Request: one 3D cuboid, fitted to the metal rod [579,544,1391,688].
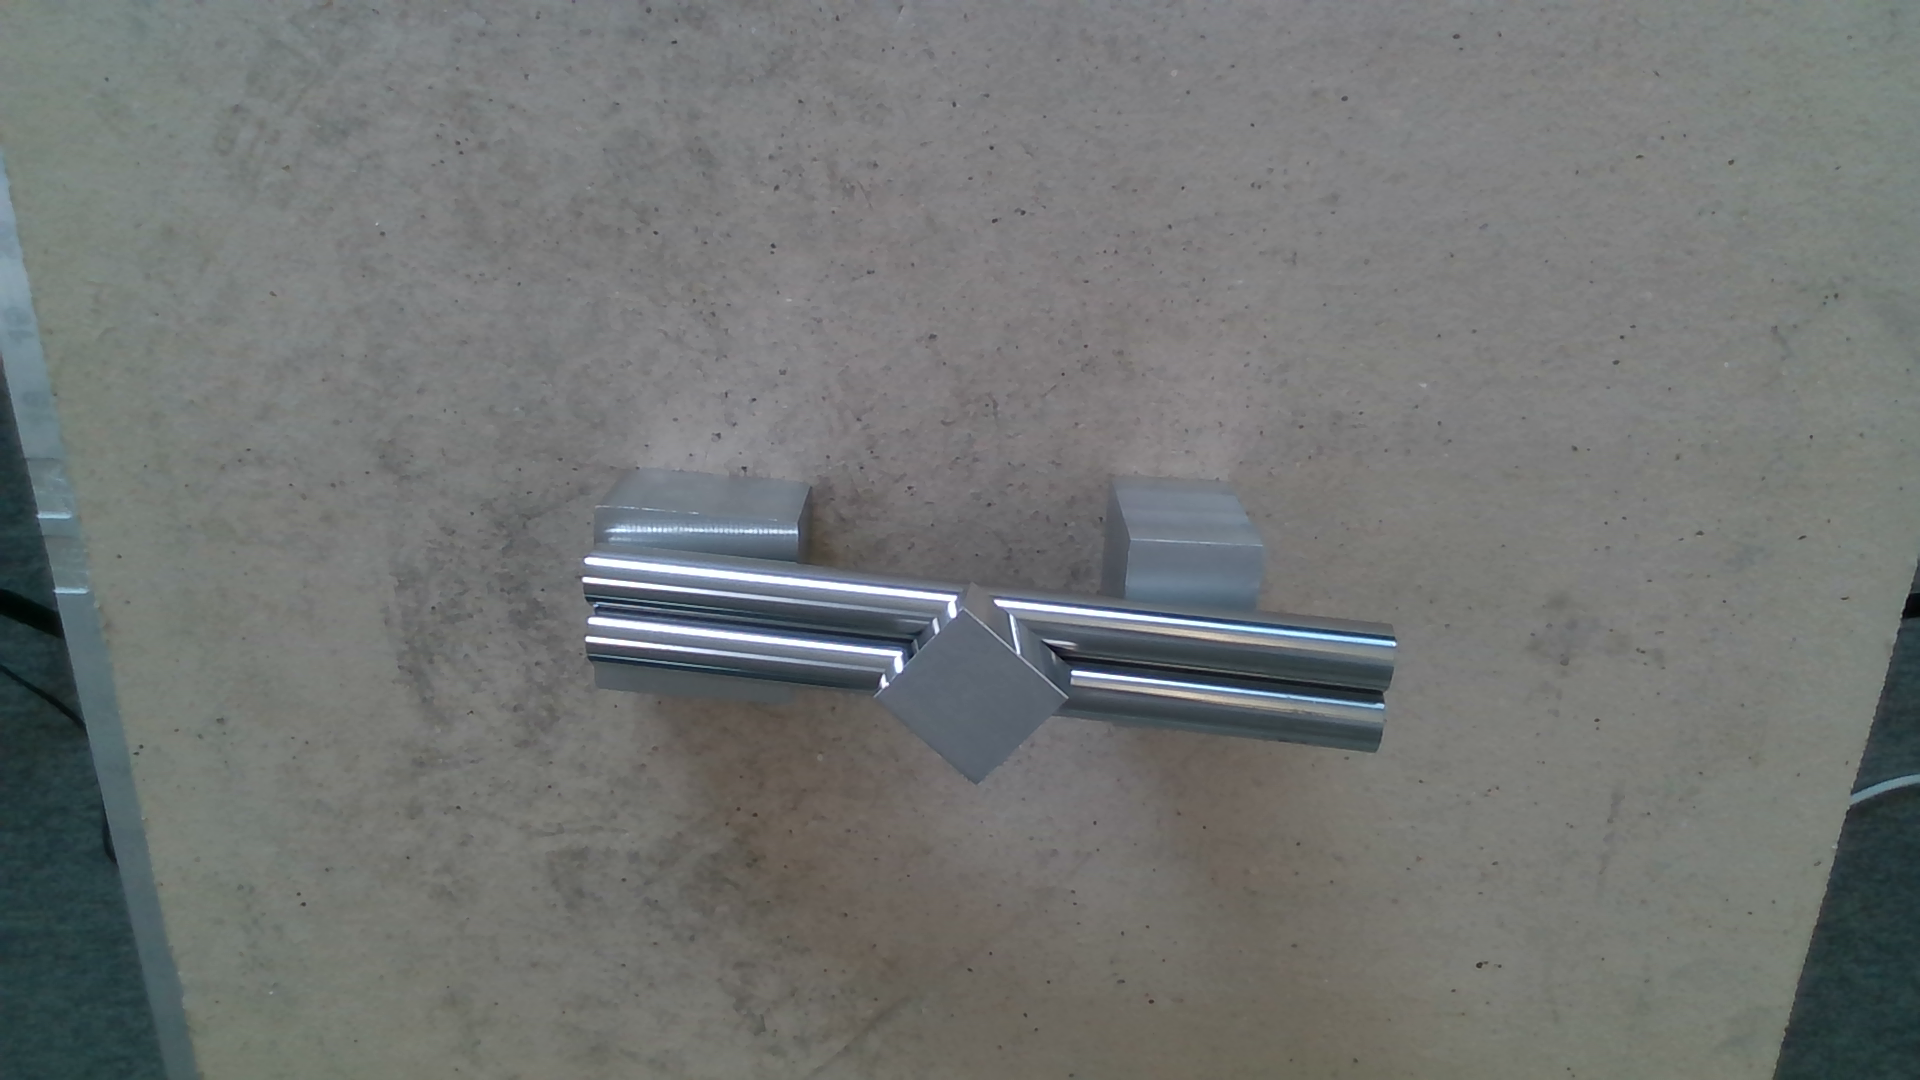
[{"bbox_3d":[0.006,0.028,0.518,0.300,0.025,0.025,5,110,6],"label":"metal rod"}]

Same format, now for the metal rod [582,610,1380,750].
[{"bbox_3d":[0.005,0.052,0.527,0.300,0.025,0.025,5,110,6],"label":"metal rod"}]

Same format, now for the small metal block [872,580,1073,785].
[{"bbox_3d":[0.005,0.052,0.500,0.050,0.025,0.050,41,111,-8],"label":"small metal block"}]

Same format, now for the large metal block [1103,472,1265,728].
[{"bbox_3d":[0.087,0.023,0.565,0.050,0.080,0.080,3,110,-1],"label":"large metal block"}]

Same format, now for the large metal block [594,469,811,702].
[{"bbox_3d":[-0.107,0.018,0.578,0.080,0.050,0.080,4,110,-2],"label":"large metal block"}]
